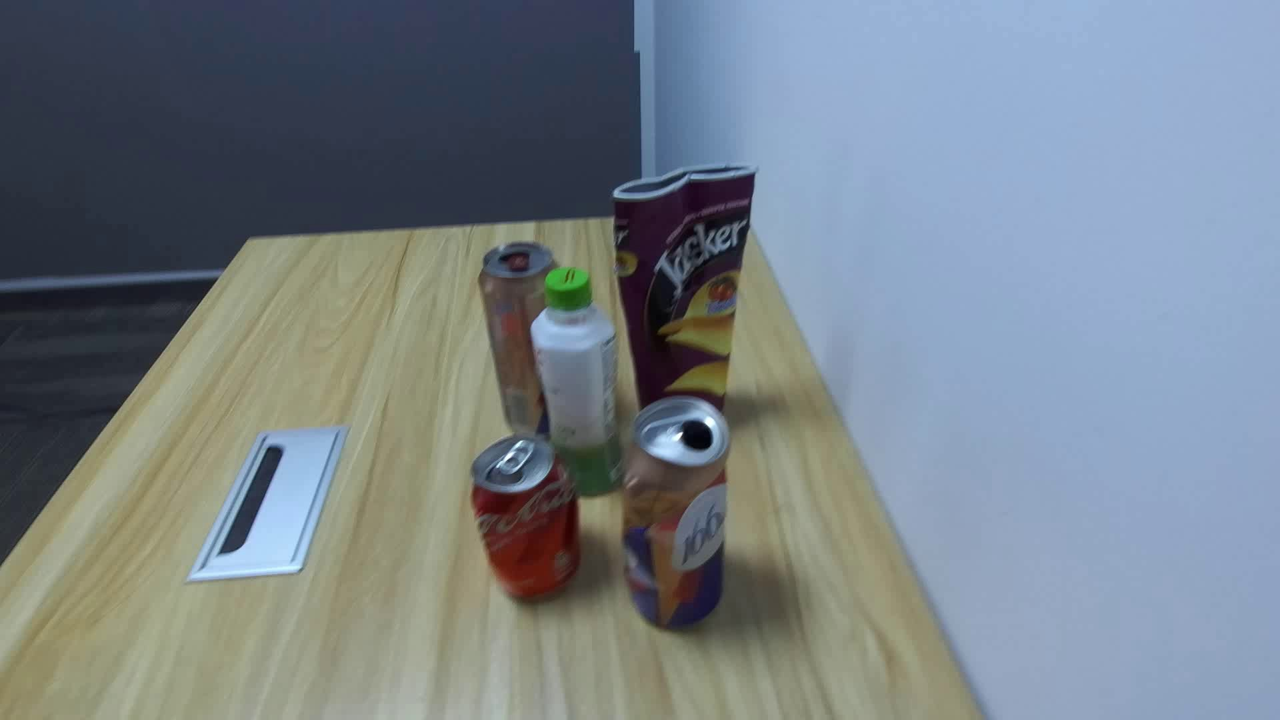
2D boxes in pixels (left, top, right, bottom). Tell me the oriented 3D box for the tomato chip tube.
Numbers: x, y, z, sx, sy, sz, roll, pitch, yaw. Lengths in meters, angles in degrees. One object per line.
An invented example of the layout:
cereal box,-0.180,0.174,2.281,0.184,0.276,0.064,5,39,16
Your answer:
tomato chip tube,0.033,-0.036,0.571,0.090,0.236,0.078,12,41,15

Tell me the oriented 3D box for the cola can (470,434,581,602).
cola can,-0.077,0.108,0.489,0.069,0.112,0.065,-15,39,-16

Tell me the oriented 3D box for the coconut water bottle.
coconut water bottle,-0.047,0.018,0.537,0.063,0.189,0.063,-1,37,1

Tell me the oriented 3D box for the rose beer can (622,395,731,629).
rose beer can,0.023,0.101,0.451,0.068,0.162,0.073,-3,39,-1

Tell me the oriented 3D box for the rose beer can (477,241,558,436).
rose beer can,-0.092,-0.011,0.600,0.068,0.169,0.068,-5,29,3
